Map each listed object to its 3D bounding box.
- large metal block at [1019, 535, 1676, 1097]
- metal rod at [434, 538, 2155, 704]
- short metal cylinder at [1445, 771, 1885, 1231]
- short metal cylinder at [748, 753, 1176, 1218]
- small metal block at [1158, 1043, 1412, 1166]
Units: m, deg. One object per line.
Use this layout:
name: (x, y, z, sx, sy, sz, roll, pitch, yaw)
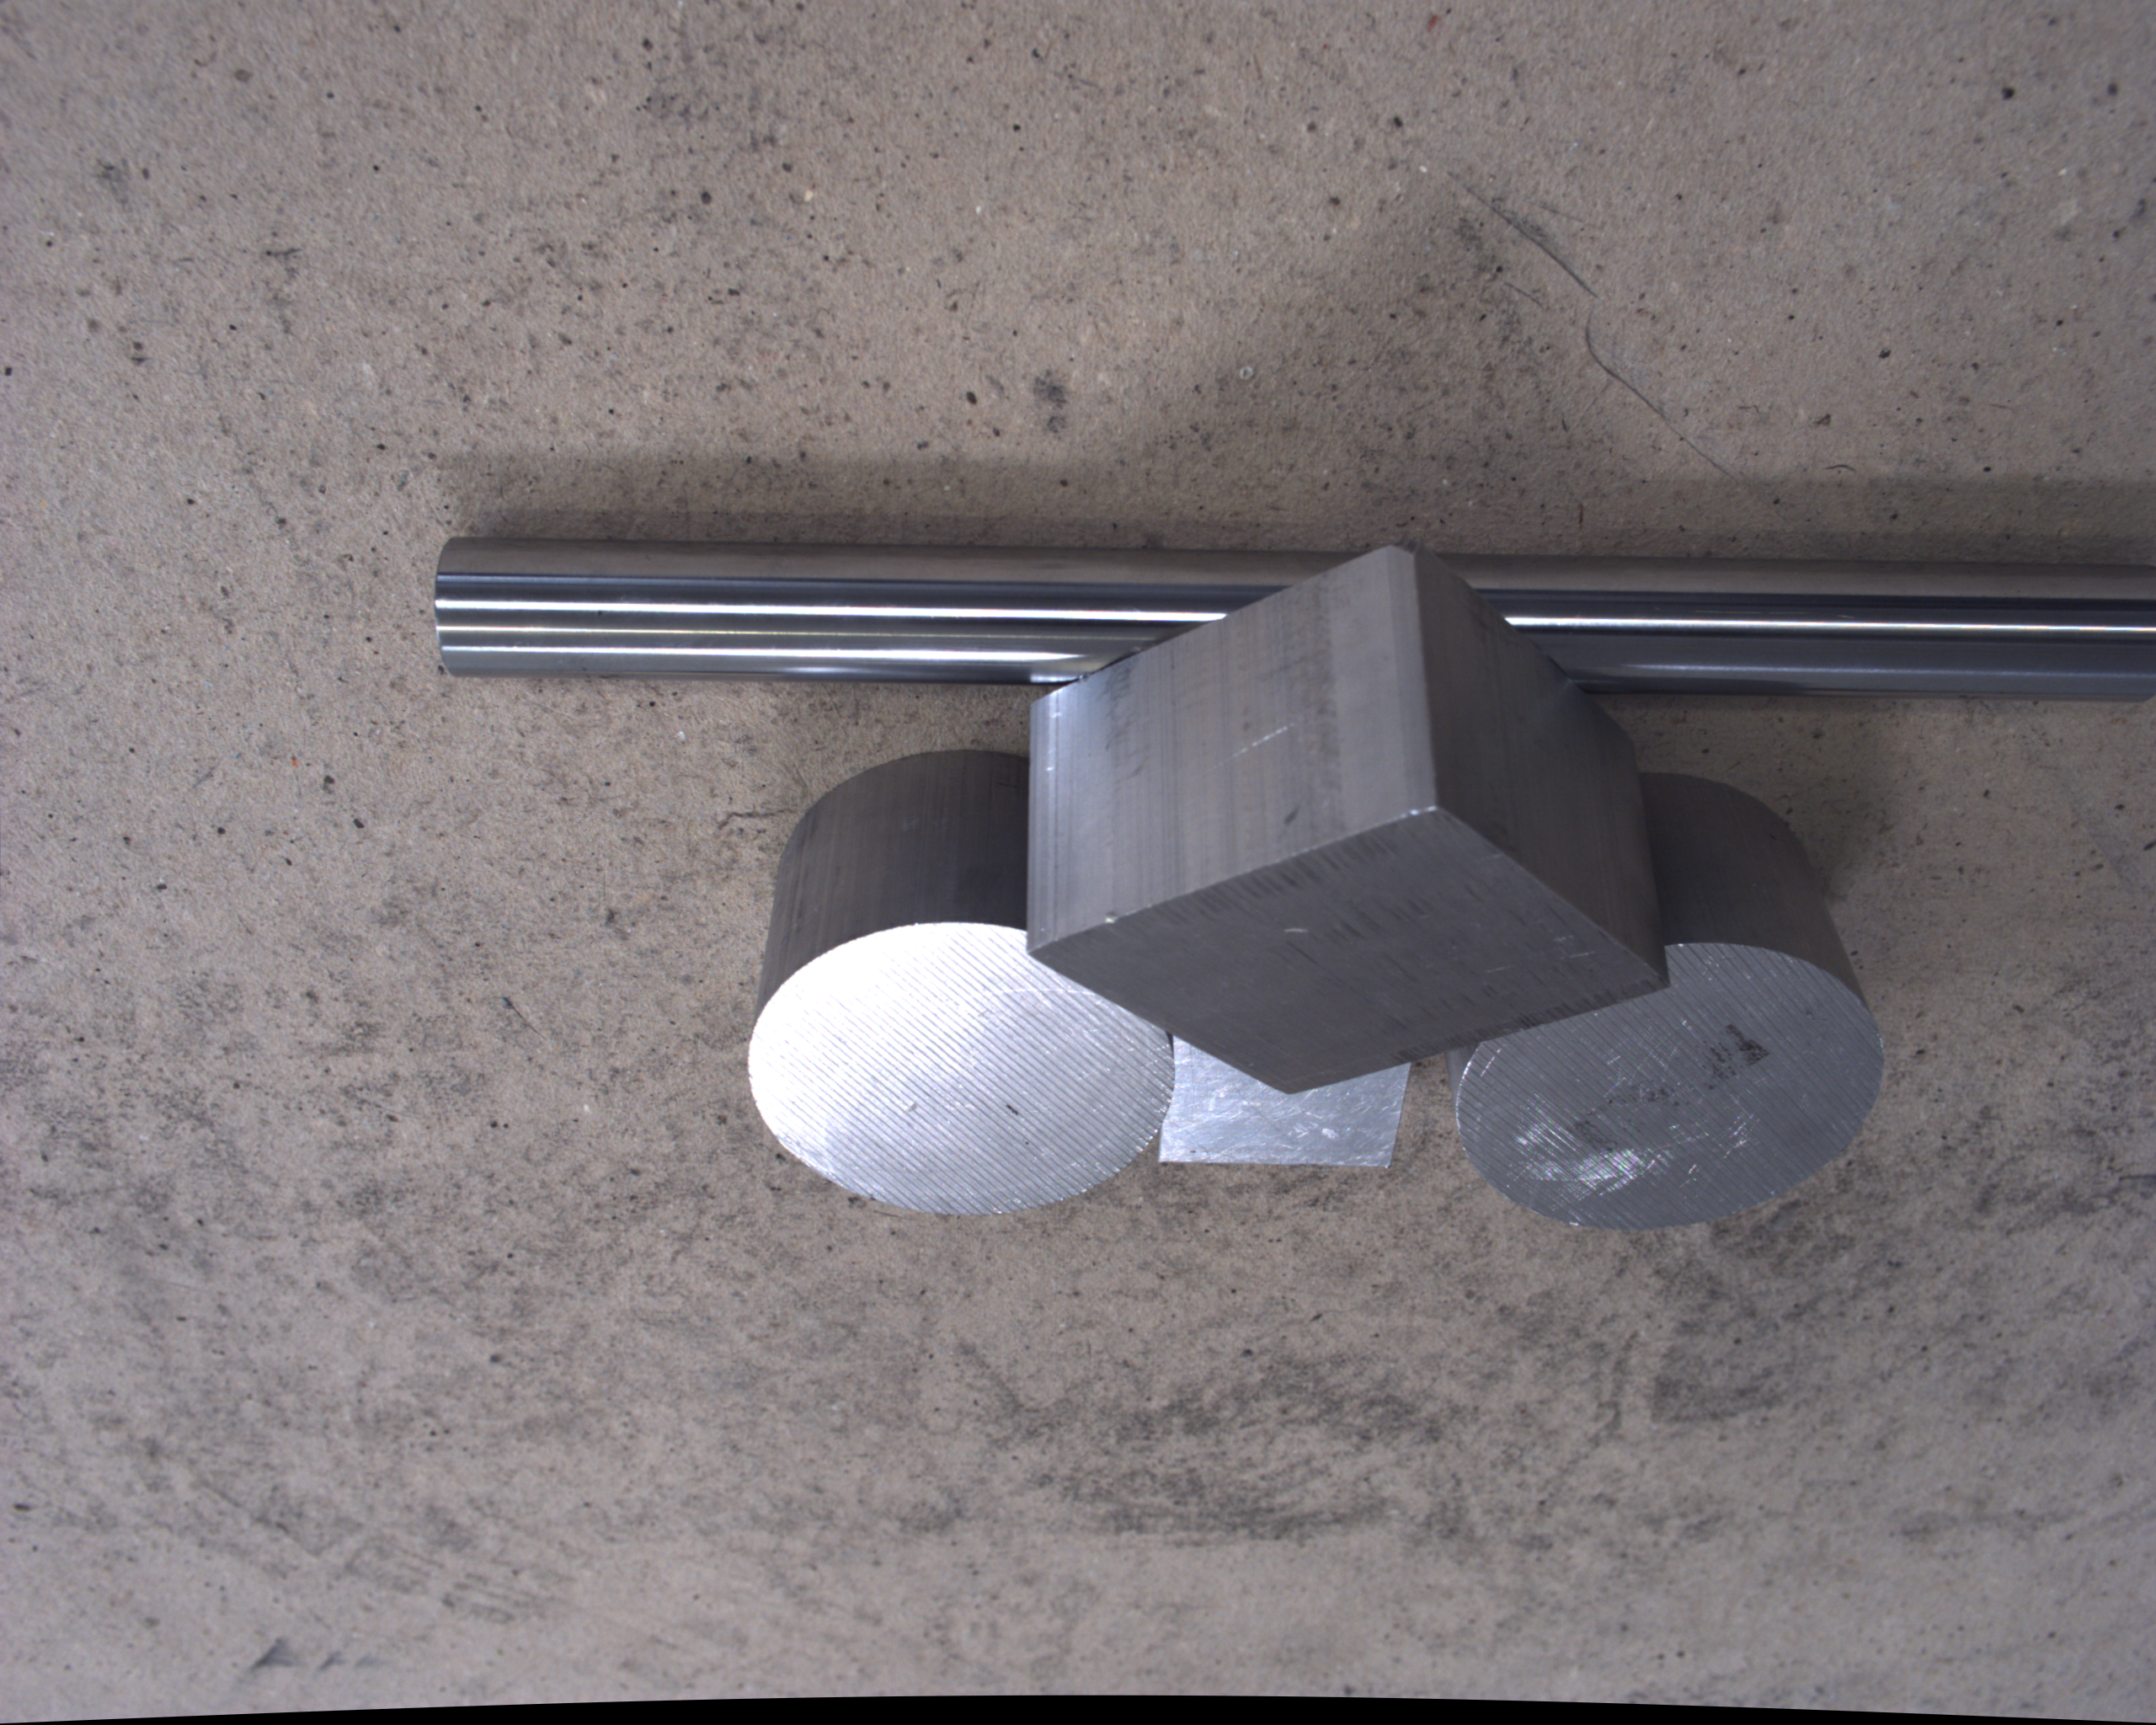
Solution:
large metal block: (0.047, -0.003, 0.367, 0.080, 0.050, 0.080, -21, 145, 33)
metal rod: (0.041, -0.043, 0.372, 0.302, 0.025, 0.025, 1, 130, -1)
short metal cylinder: (0.113, 0.028, 0.417, 0.081, 0.050, 0.079, 0, 130, 0)
short metal cylinder: (-0.022, 0.025, 0.413, 0.081, 0.050, 0.079, 0, 130, 0)
small metal block: (0.043, 0.038, 0.442, 0.050, 0.025, 0.050, 1, 130, -2)
